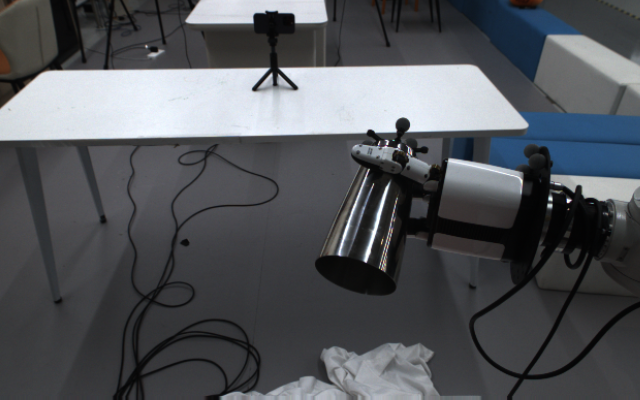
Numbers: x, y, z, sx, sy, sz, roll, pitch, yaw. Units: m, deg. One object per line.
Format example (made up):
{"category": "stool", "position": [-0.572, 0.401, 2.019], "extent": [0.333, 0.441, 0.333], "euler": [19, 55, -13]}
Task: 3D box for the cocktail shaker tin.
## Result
{"category": "cocktail shaker tin", "position": [0.064, 0.011, 0.566], "extent": [0.093, 0.093, 0.170], "euler": [13, 59, 16]}
